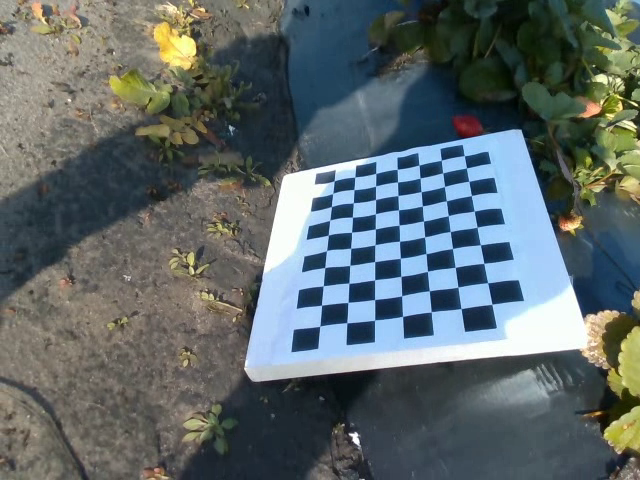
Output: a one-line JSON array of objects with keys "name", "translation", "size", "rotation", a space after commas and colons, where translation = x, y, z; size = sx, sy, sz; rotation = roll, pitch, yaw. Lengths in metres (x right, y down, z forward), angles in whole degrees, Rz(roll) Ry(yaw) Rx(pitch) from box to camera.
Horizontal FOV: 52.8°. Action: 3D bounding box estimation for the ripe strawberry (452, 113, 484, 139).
[{"name": "ripe strawberry", "translation": [0.144, -0.113, 0.638], "size": [0.037, 0.035, 0.033], "rotation": [31, -55, -21]}]
